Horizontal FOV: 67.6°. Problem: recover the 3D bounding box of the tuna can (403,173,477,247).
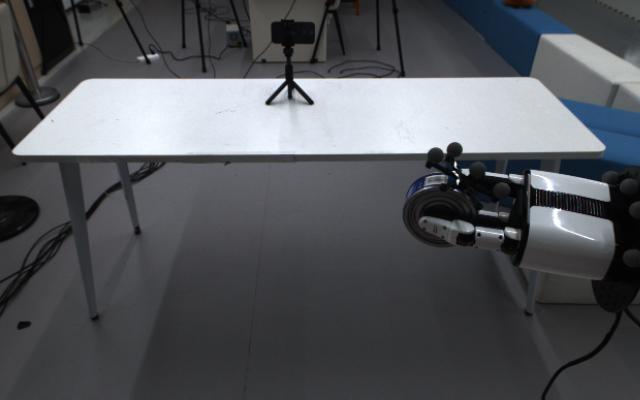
[{"bbox_3d":[0.143,0.018,0.556,0.085,0.085,0.034,12,35,14],"label":"tuna can"}]
